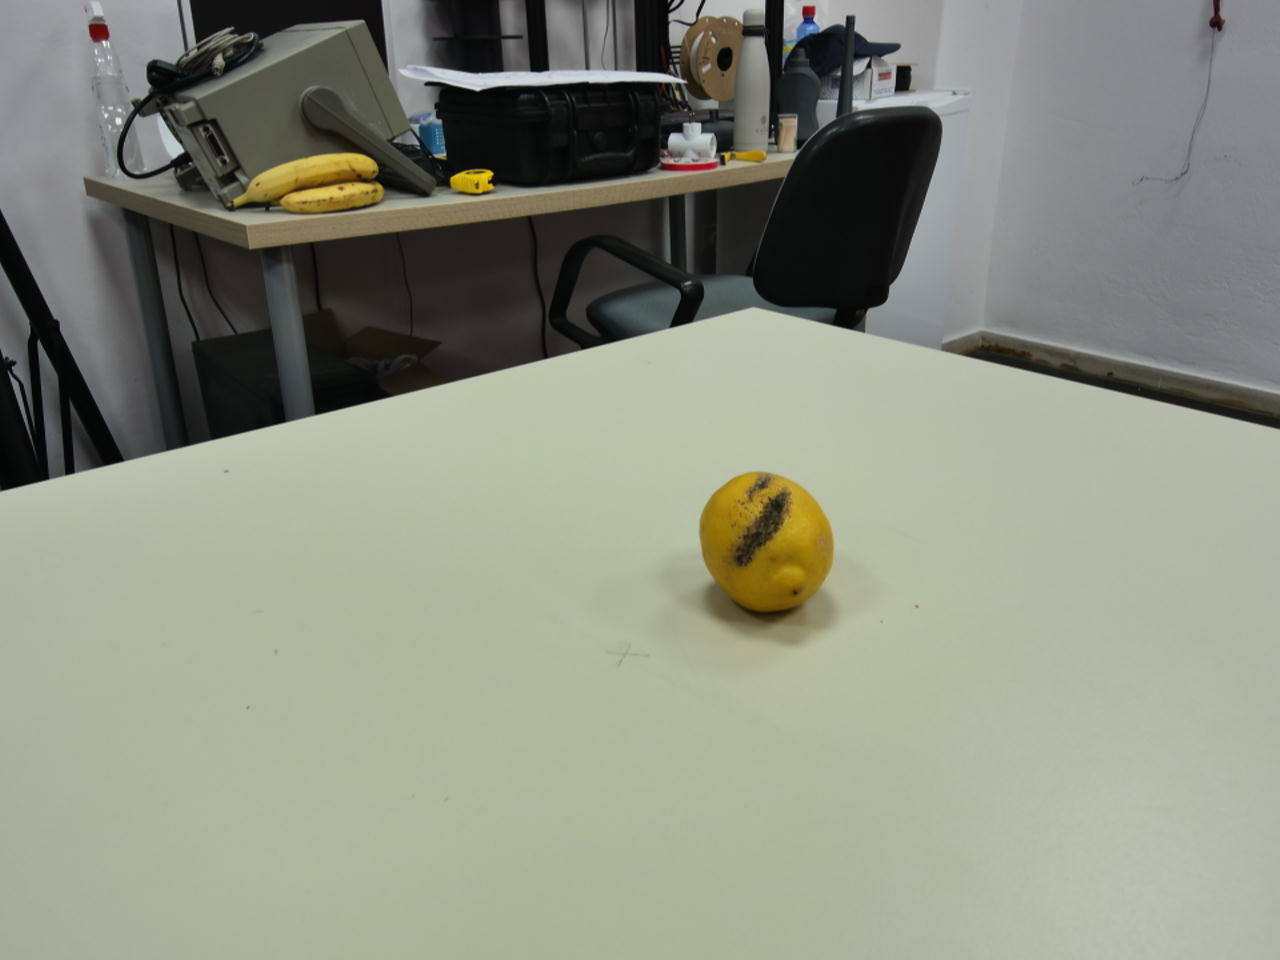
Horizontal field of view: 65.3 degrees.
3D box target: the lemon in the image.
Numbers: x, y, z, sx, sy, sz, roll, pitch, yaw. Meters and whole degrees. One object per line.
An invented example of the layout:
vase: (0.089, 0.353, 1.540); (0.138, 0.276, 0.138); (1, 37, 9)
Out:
lemon: (0.055, 0.027, 0.432); (0.061, 0.056, 0.058); (19, 29, 39)
